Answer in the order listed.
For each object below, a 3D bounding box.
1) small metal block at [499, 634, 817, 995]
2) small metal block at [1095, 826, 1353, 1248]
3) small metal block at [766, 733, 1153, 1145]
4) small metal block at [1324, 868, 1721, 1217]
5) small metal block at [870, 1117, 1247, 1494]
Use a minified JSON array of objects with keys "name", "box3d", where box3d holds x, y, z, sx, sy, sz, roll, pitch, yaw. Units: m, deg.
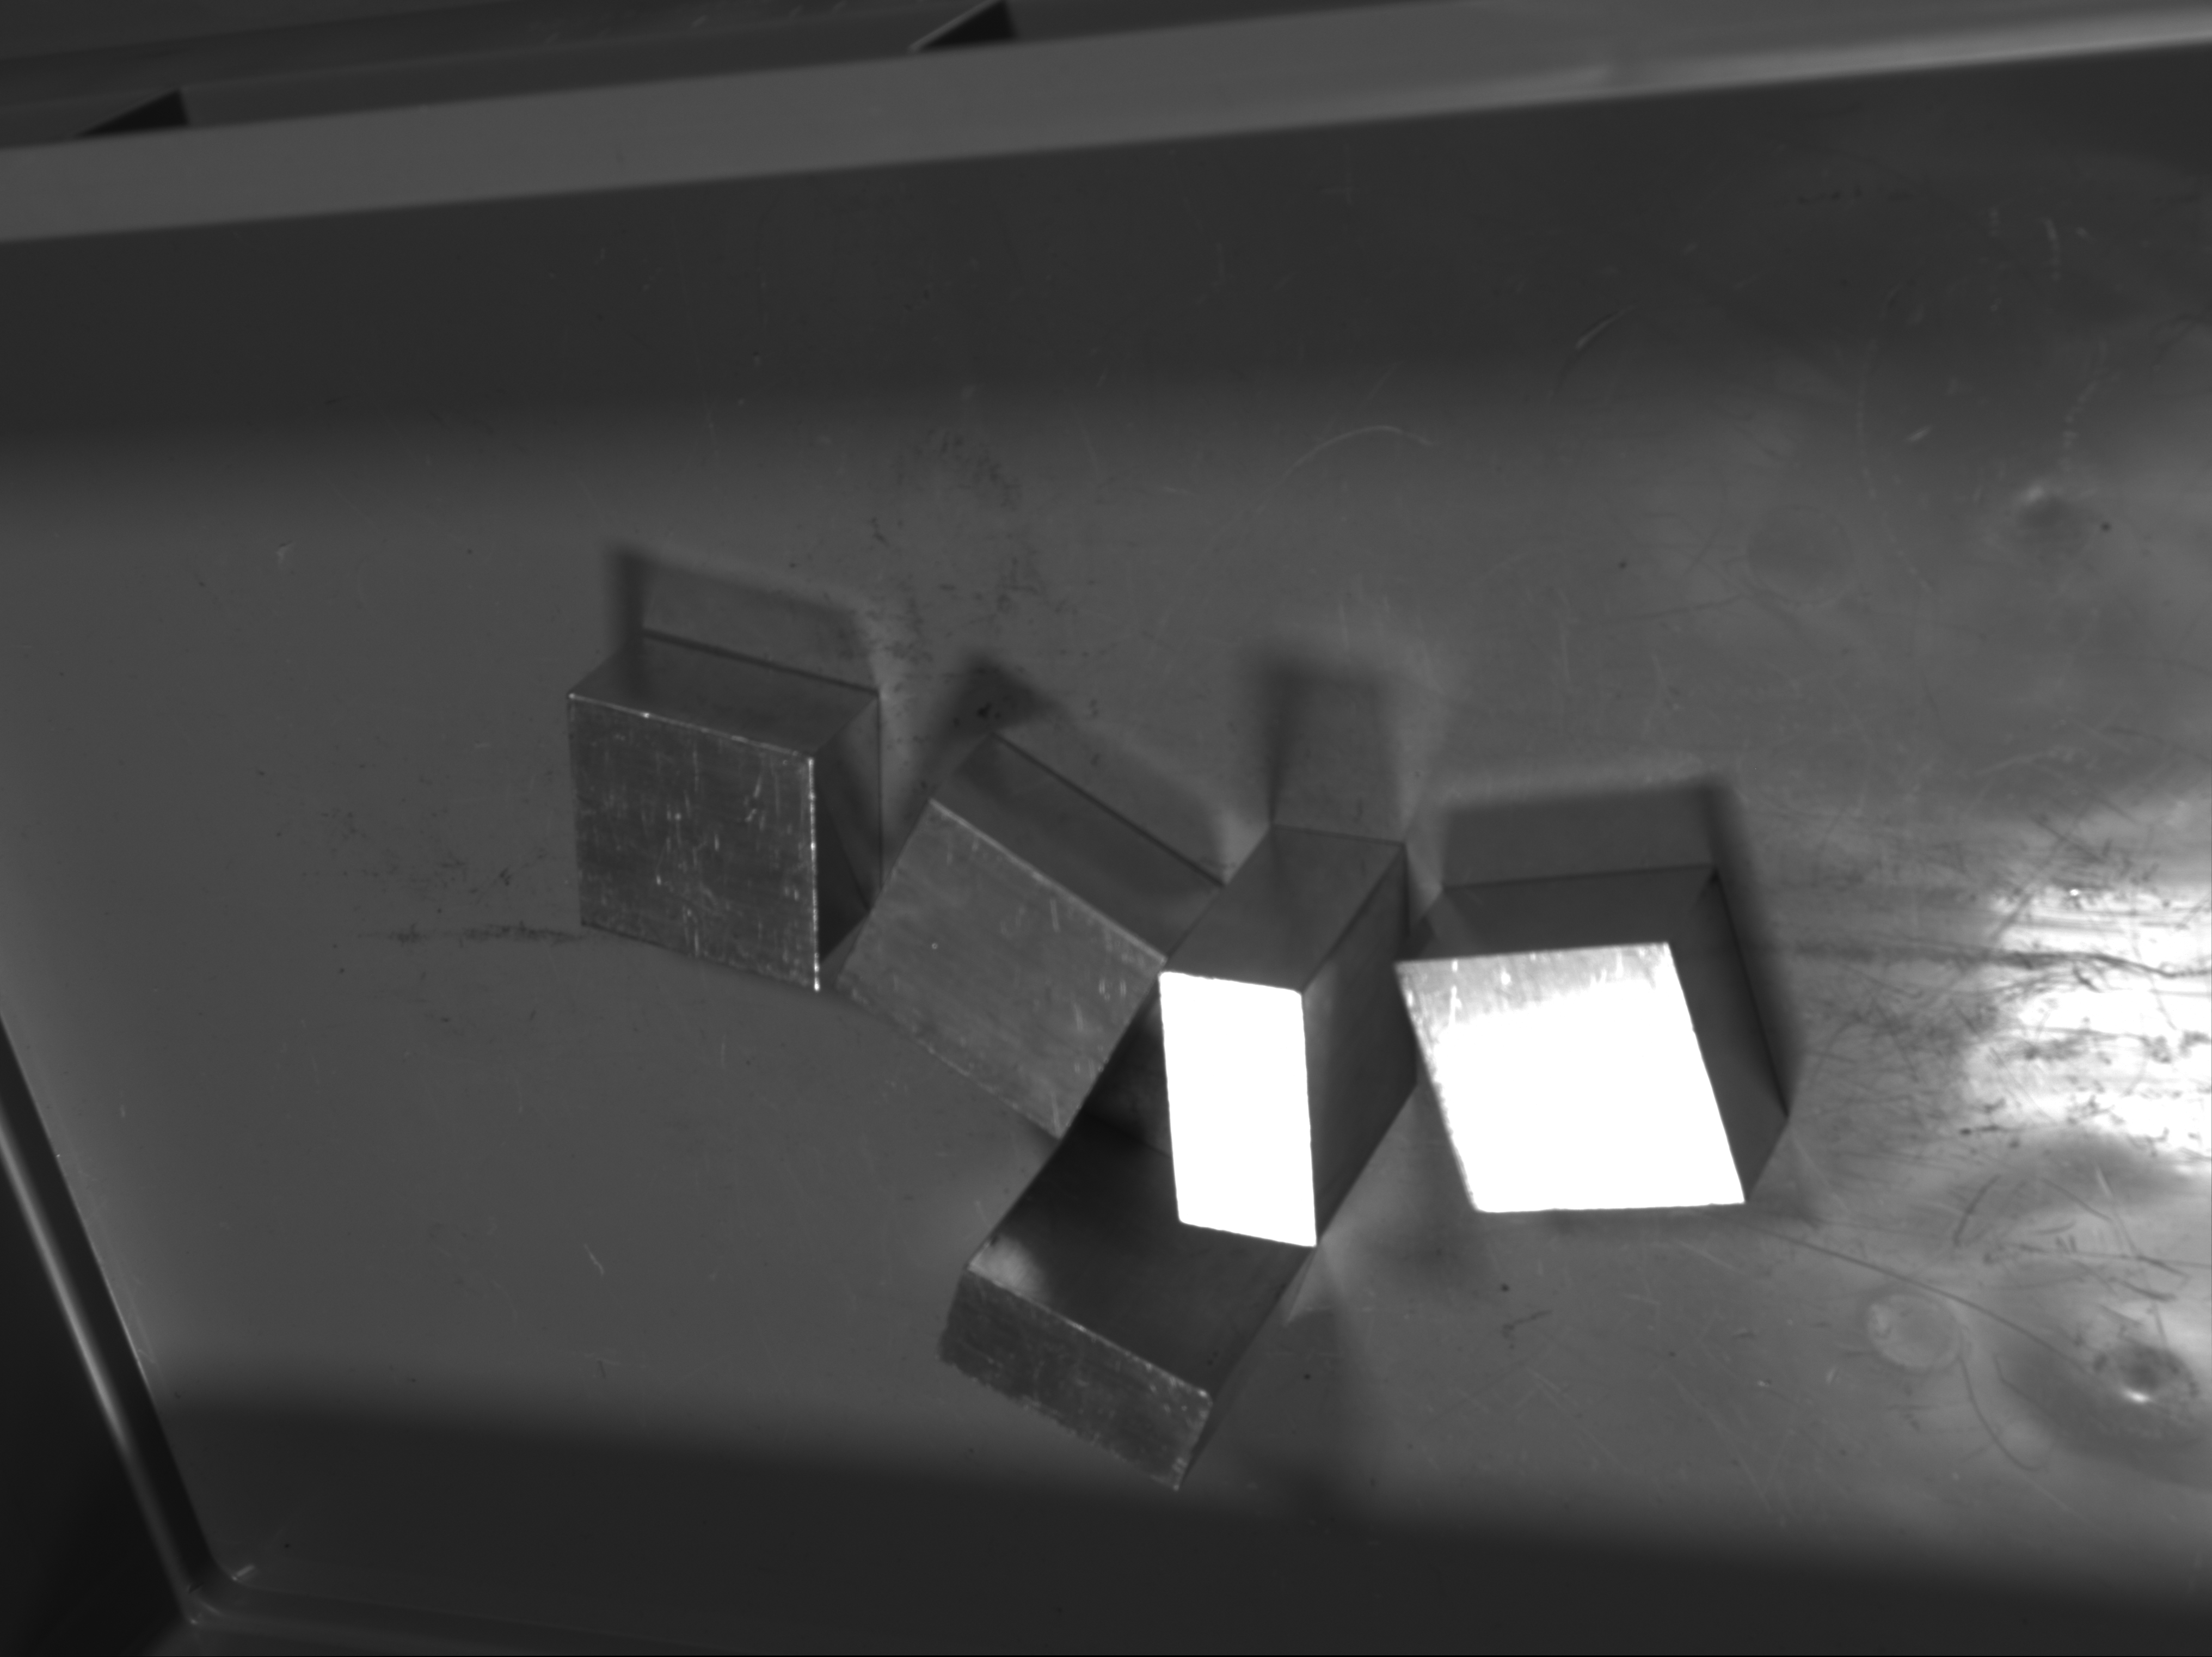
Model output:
[{"name":"small metal block","box3d":[-0.081,-0.003,0.667,0.050,0.025,0.050,14,124,19]},{"name":"small metal block","box3d":[0.021,0.035,0.624,0.025,0.050,0.050,9,122,22]},{"name":"small metal block","box3d":[-0.026,0.020,0.653,0.050,0.025,0.050,33,128,5]},{"name":"small metal block","box3d":[0.070,0.037,0.616,0.050,0.025,0.050,-6,116,29]},{"name":"small metal block","box3d":[-0.007,0.086,0.668,0.050,0.050,0.025,27,128,9]}]
